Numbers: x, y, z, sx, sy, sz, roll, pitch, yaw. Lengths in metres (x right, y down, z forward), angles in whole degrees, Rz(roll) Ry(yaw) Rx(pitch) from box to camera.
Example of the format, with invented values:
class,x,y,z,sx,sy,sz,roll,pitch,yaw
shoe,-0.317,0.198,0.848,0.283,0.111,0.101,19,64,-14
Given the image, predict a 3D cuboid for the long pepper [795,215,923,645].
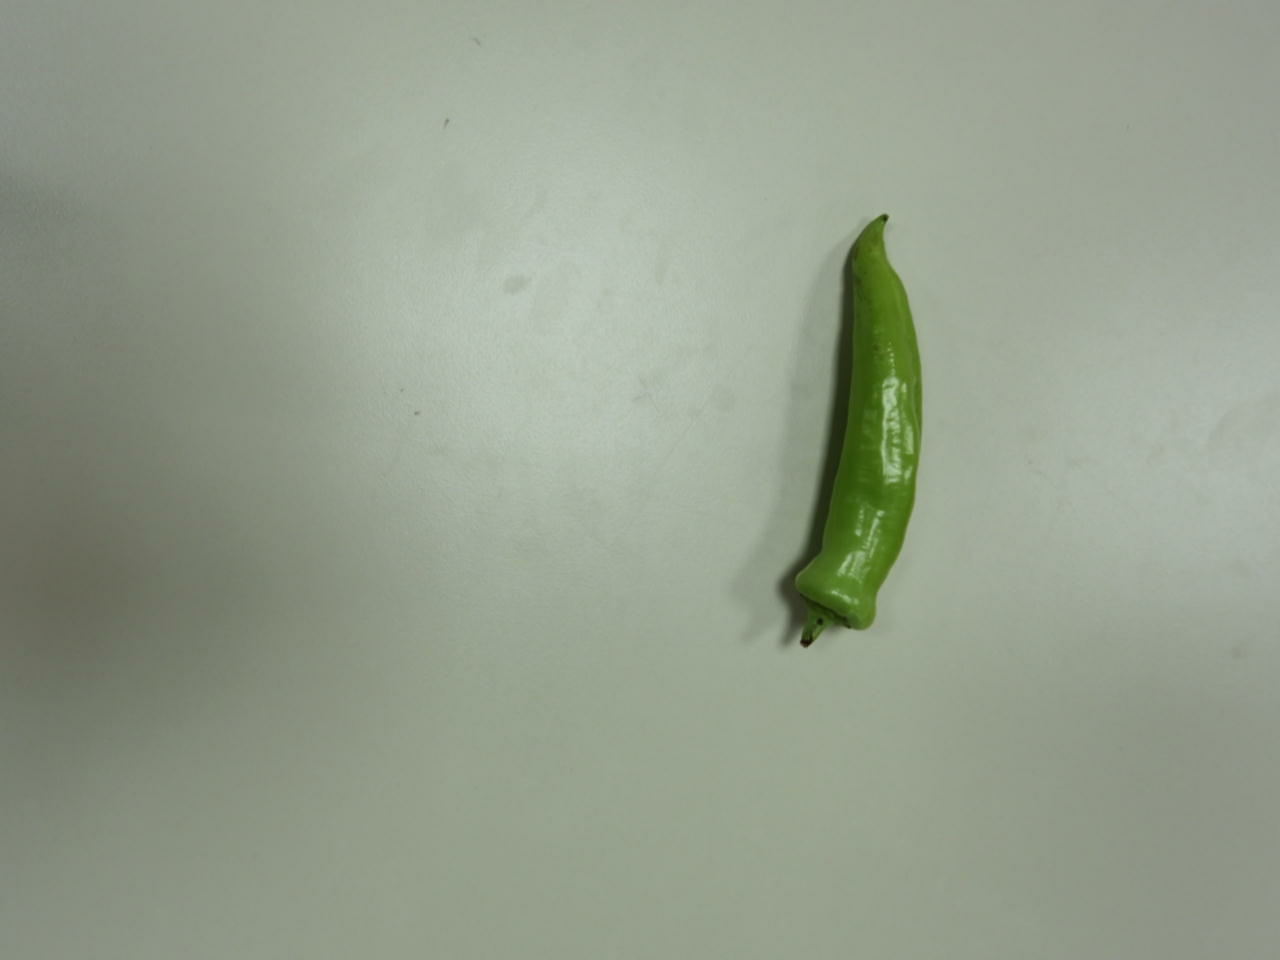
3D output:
class,x,y,z,sx,sy,sz,roll,pitch,yaw
long pepper,0.103,-0.022,0.439,0.047,0.038,0.197,12,88,-11
